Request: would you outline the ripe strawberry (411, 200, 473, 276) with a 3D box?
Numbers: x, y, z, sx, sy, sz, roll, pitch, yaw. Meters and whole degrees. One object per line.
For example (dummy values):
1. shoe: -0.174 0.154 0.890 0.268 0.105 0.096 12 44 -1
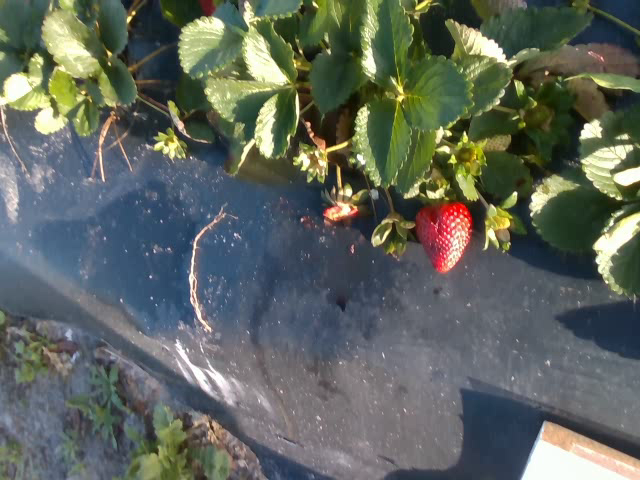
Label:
1. ripe strawberry: 0.091 0.001 0.483 0.052 0.052 0.041 -9 -31 38
